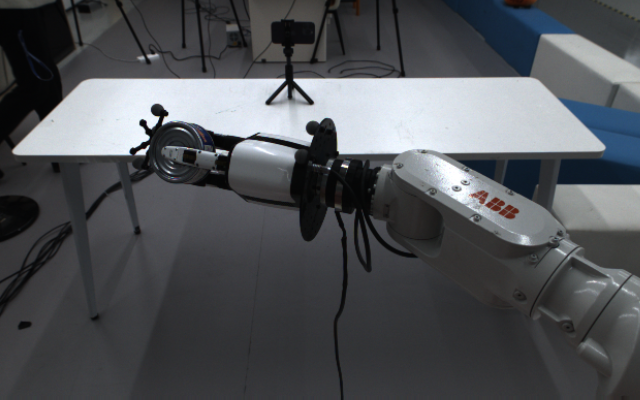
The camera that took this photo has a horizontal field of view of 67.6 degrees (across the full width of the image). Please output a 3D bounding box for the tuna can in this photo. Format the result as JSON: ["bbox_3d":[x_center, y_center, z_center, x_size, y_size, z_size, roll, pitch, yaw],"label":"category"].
[{"bbox_3d":[-0.189,-0.065,0.661,0.085,0.085,0.034,12,6,14],"label":"tuna can"}]
